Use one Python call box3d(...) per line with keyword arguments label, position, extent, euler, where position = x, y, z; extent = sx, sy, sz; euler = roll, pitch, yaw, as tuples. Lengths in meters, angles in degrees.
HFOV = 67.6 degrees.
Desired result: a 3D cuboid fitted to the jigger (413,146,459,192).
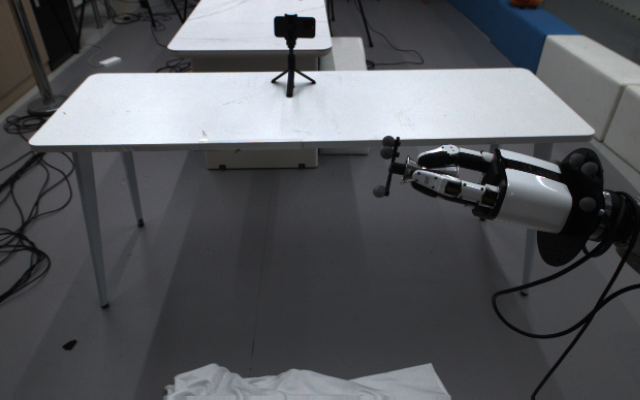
box3d(label="jigger", position=(0.152, -0.036, 0.645), extent=(0.071, 0.043, 0.043), euler=(12, 36, 5))
